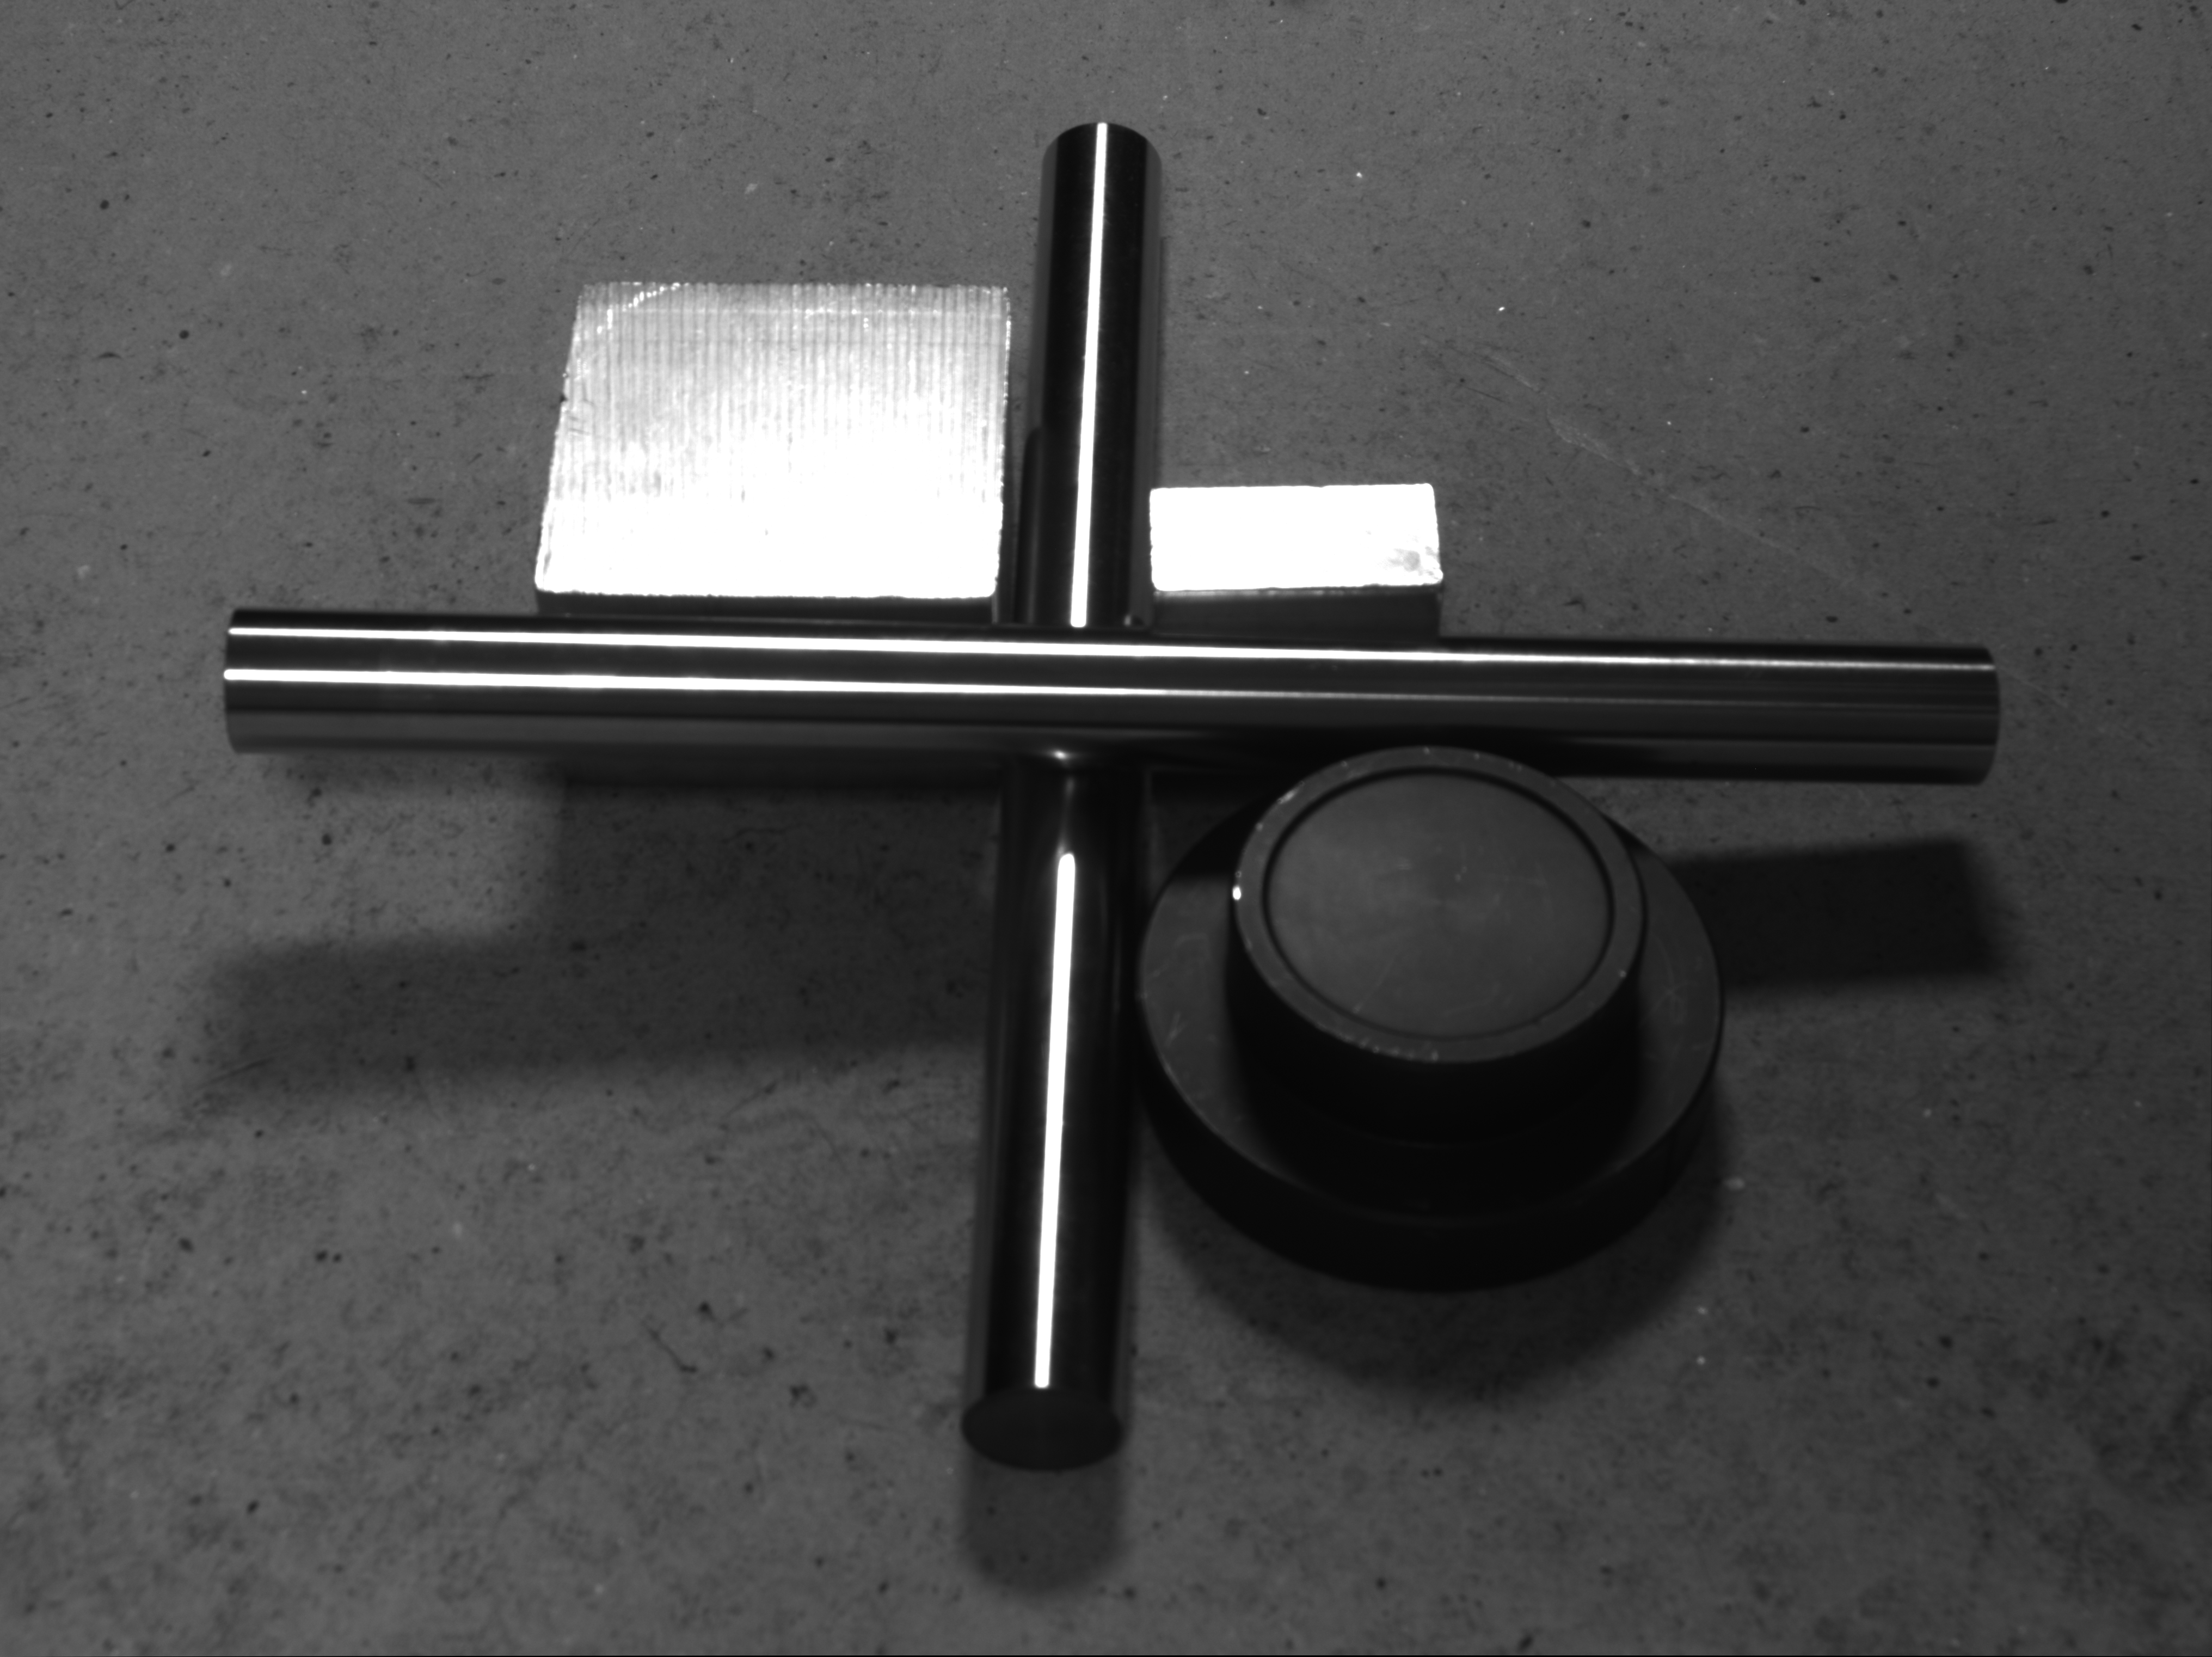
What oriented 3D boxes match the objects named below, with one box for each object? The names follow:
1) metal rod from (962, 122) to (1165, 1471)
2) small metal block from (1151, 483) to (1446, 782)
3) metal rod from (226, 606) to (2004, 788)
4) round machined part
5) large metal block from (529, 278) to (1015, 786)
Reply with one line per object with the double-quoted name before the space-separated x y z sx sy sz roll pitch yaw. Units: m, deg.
"metal rod" -0.005 -0.022 0.661 0.025 0.025 0.300 1 50 1
"small metal block" 0.033 -0.035 0.656 0.050 0.050 0.025 -1 50 -1
"metal rod" 0.003 -0.022 0.629 0.300 0.025 0.025 1 50 -4
"round machined part" 0.054 0.025 0.609 0.098 0.042 0.098 0 50 0
"large metal block" -0.058 -0.055 0.671 0.080 0.050 0.080 1 50 1
